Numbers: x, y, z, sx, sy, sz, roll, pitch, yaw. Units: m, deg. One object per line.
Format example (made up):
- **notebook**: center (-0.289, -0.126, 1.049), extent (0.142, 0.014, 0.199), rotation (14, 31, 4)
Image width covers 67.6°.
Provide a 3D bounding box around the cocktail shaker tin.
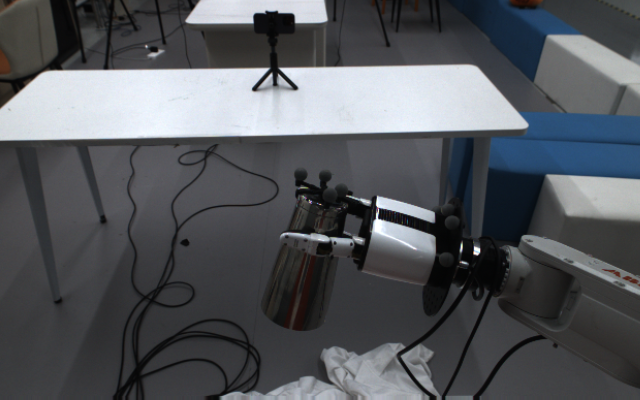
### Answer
- **cocktail shaker tin**: center (-0.014, 0.073, 0.647), extent (0.093, 0.170, 0.093), rotation (14, 19, -5)
